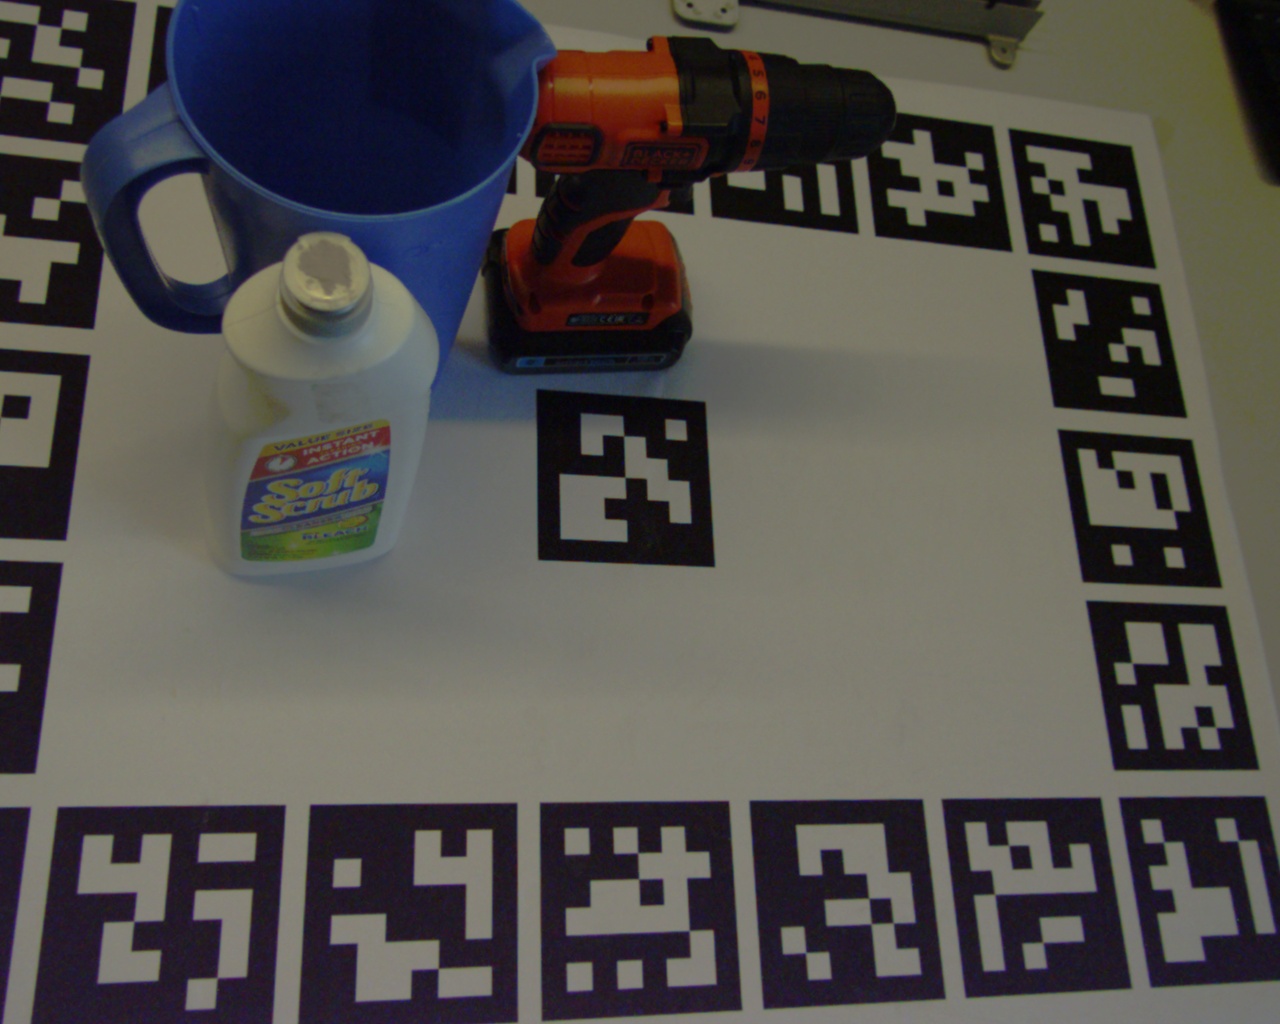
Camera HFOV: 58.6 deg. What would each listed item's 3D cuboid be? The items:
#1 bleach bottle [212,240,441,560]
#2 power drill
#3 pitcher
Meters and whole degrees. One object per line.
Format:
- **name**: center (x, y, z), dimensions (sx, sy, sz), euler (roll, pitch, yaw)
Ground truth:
- **bleach bottle**: center (-0.143, -0.043, 0.493), dimensions (0.102, 0.252, 0.068), euler (-5, 75, -16)
- **power drill**: center (0.018, -0.142, 0.598), dimensions (0.183, 0.188, 0.057), euler (-2, 77, -21)
- **pitcher**: center (-0.141, -0.134, 0.545), dimensions (0.187, 0.244, 0.133), euler (-25, 83, -20)
